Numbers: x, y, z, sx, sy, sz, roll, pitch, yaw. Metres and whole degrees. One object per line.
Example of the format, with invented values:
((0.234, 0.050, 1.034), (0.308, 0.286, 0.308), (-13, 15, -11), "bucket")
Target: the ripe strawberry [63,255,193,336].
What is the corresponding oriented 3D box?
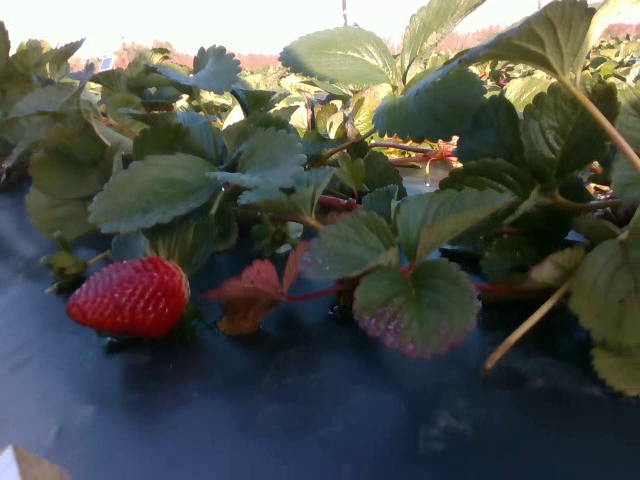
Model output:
((-0.074, 0.021, 0.224), (0.040, 0.041, 0.056), (-29, -8, 21), "ripe strawberry")
